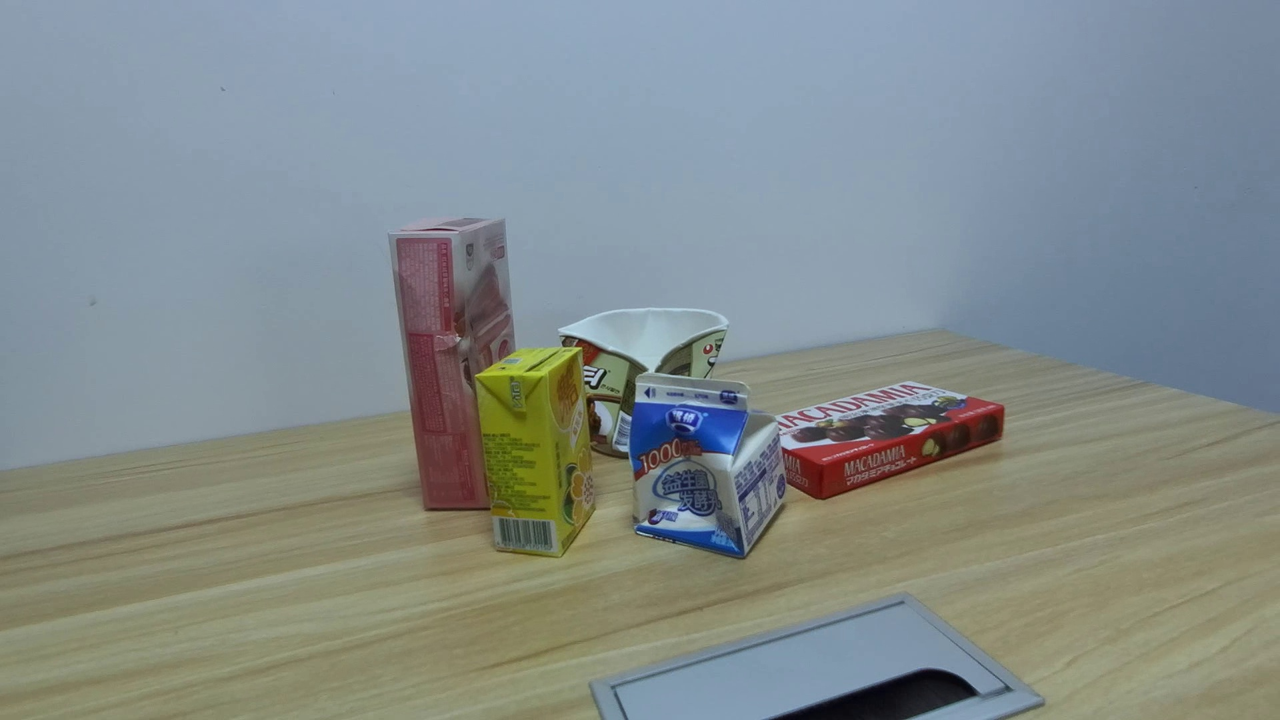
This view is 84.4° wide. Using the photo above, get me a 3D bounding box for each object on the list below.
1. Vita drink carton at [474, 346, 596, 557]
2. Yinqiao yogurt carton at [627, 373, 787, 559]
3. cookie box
[{"bbox_3d":[-0.060,0.052,0.423,0.043,0.109,0.067,0,15,15],"label":"Vita drink carton"},{"bbox_3d":[0.037,0.053,0.417,0.077,0.094,0.071,4,21,31],"label":"Yinqiao yogurt carton"},{"bbox_3d":[-0.121,-0.001,0.486,0.049,0.187,0.105,-1,15,6],"label":"cookie box"}]
